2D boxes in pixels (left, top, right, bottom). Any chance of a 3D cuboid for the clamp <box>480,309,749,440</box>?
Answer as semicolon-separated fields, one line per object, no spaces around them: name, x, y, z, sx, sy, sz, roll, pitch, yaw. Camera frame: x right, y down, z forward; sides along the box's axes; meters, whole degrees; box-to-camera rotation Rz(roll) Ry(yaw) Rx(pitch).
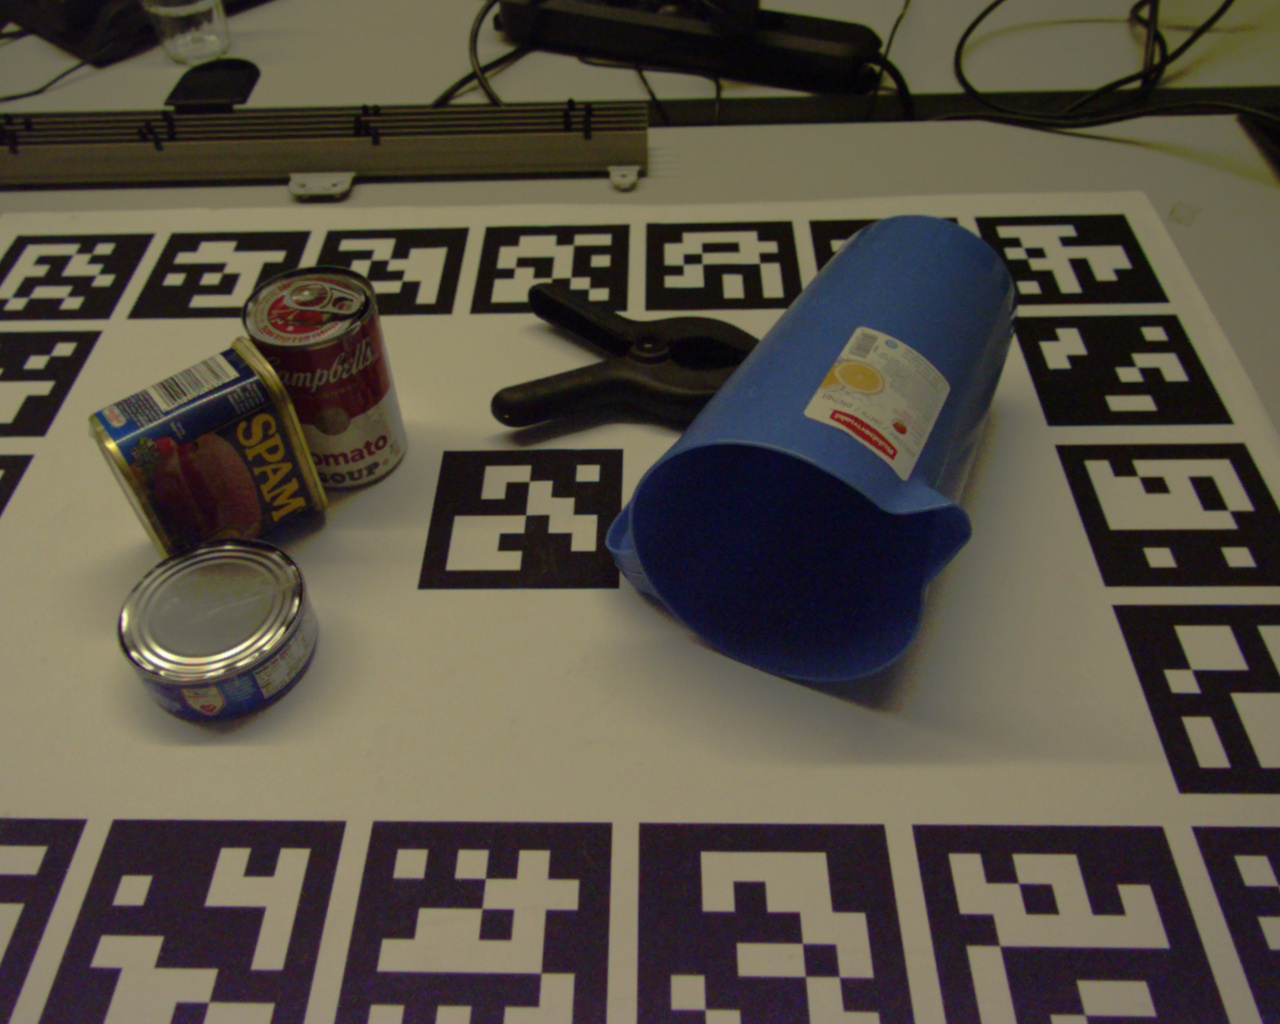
clamp;-0.013;-0.087;0.725;0.165;0.036;0.122;2;43;0

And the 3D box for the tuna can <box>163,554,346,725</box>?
tuna can;-0.195;0.065;0.582;0.086;0.033;0.086;-2;49;1

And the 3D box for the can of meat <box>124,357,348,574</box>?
can of meat;-0.216;-0.019;0.611;0.083;0.101;0.058;-32;55;-20

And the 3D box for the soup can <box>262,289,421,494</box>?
soup can;-0.170;-0.068;0.660;0.068;0.101;0.068;-3;49;3

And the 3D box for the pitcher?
pitcher;0.100;-0.049;0.602;0.191;0.132;0.241;-2;36;31
